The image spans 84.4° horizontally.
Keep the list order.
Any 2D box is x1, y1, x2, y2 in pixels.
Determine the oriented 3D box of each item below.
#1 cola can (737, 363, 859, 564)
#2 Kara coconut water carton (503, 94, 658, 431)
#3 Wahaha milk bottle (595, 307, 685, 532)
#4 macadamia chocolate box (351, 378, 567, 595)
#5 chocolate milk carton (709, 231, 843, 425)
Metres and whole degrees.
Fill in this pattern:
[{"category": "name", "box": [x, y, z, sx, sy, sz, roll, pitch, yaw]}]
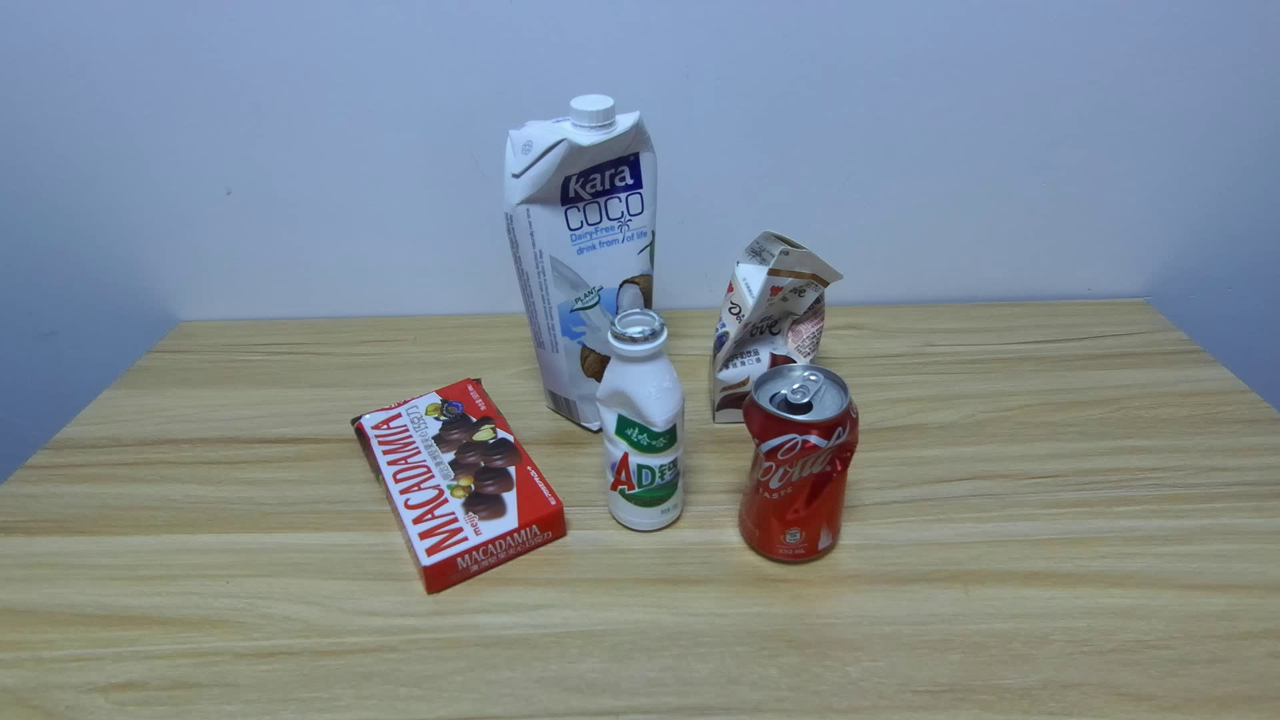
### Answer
[{"category": "cola can", "box": [0.093, 0.062, 0.428, 0.066, 0.117, 0.066, -5, 33, -2]}, {"category": "Kara coconut water carton", "box": [-0.038, -0.068, 0.520, 0.115, 0.239, 0.069, -27, 39, -36]}, {"category": "Wahaha milk bottle", "box": [0.001, 0.039, 0.438, 0.056, 0.148, 0.056, -2, 35, 1]}, {"category": "macadamia chocolate box", "box": [-0.133, 0.077, 0.507, 0.106, 0.028, 0.182, -20, 38, -25]}, {"category": "chocolate milk carton", "box": [0.100, -0.026, 0.533, 0.089, 0.155, 0.076, 7, 37, -10]}]
